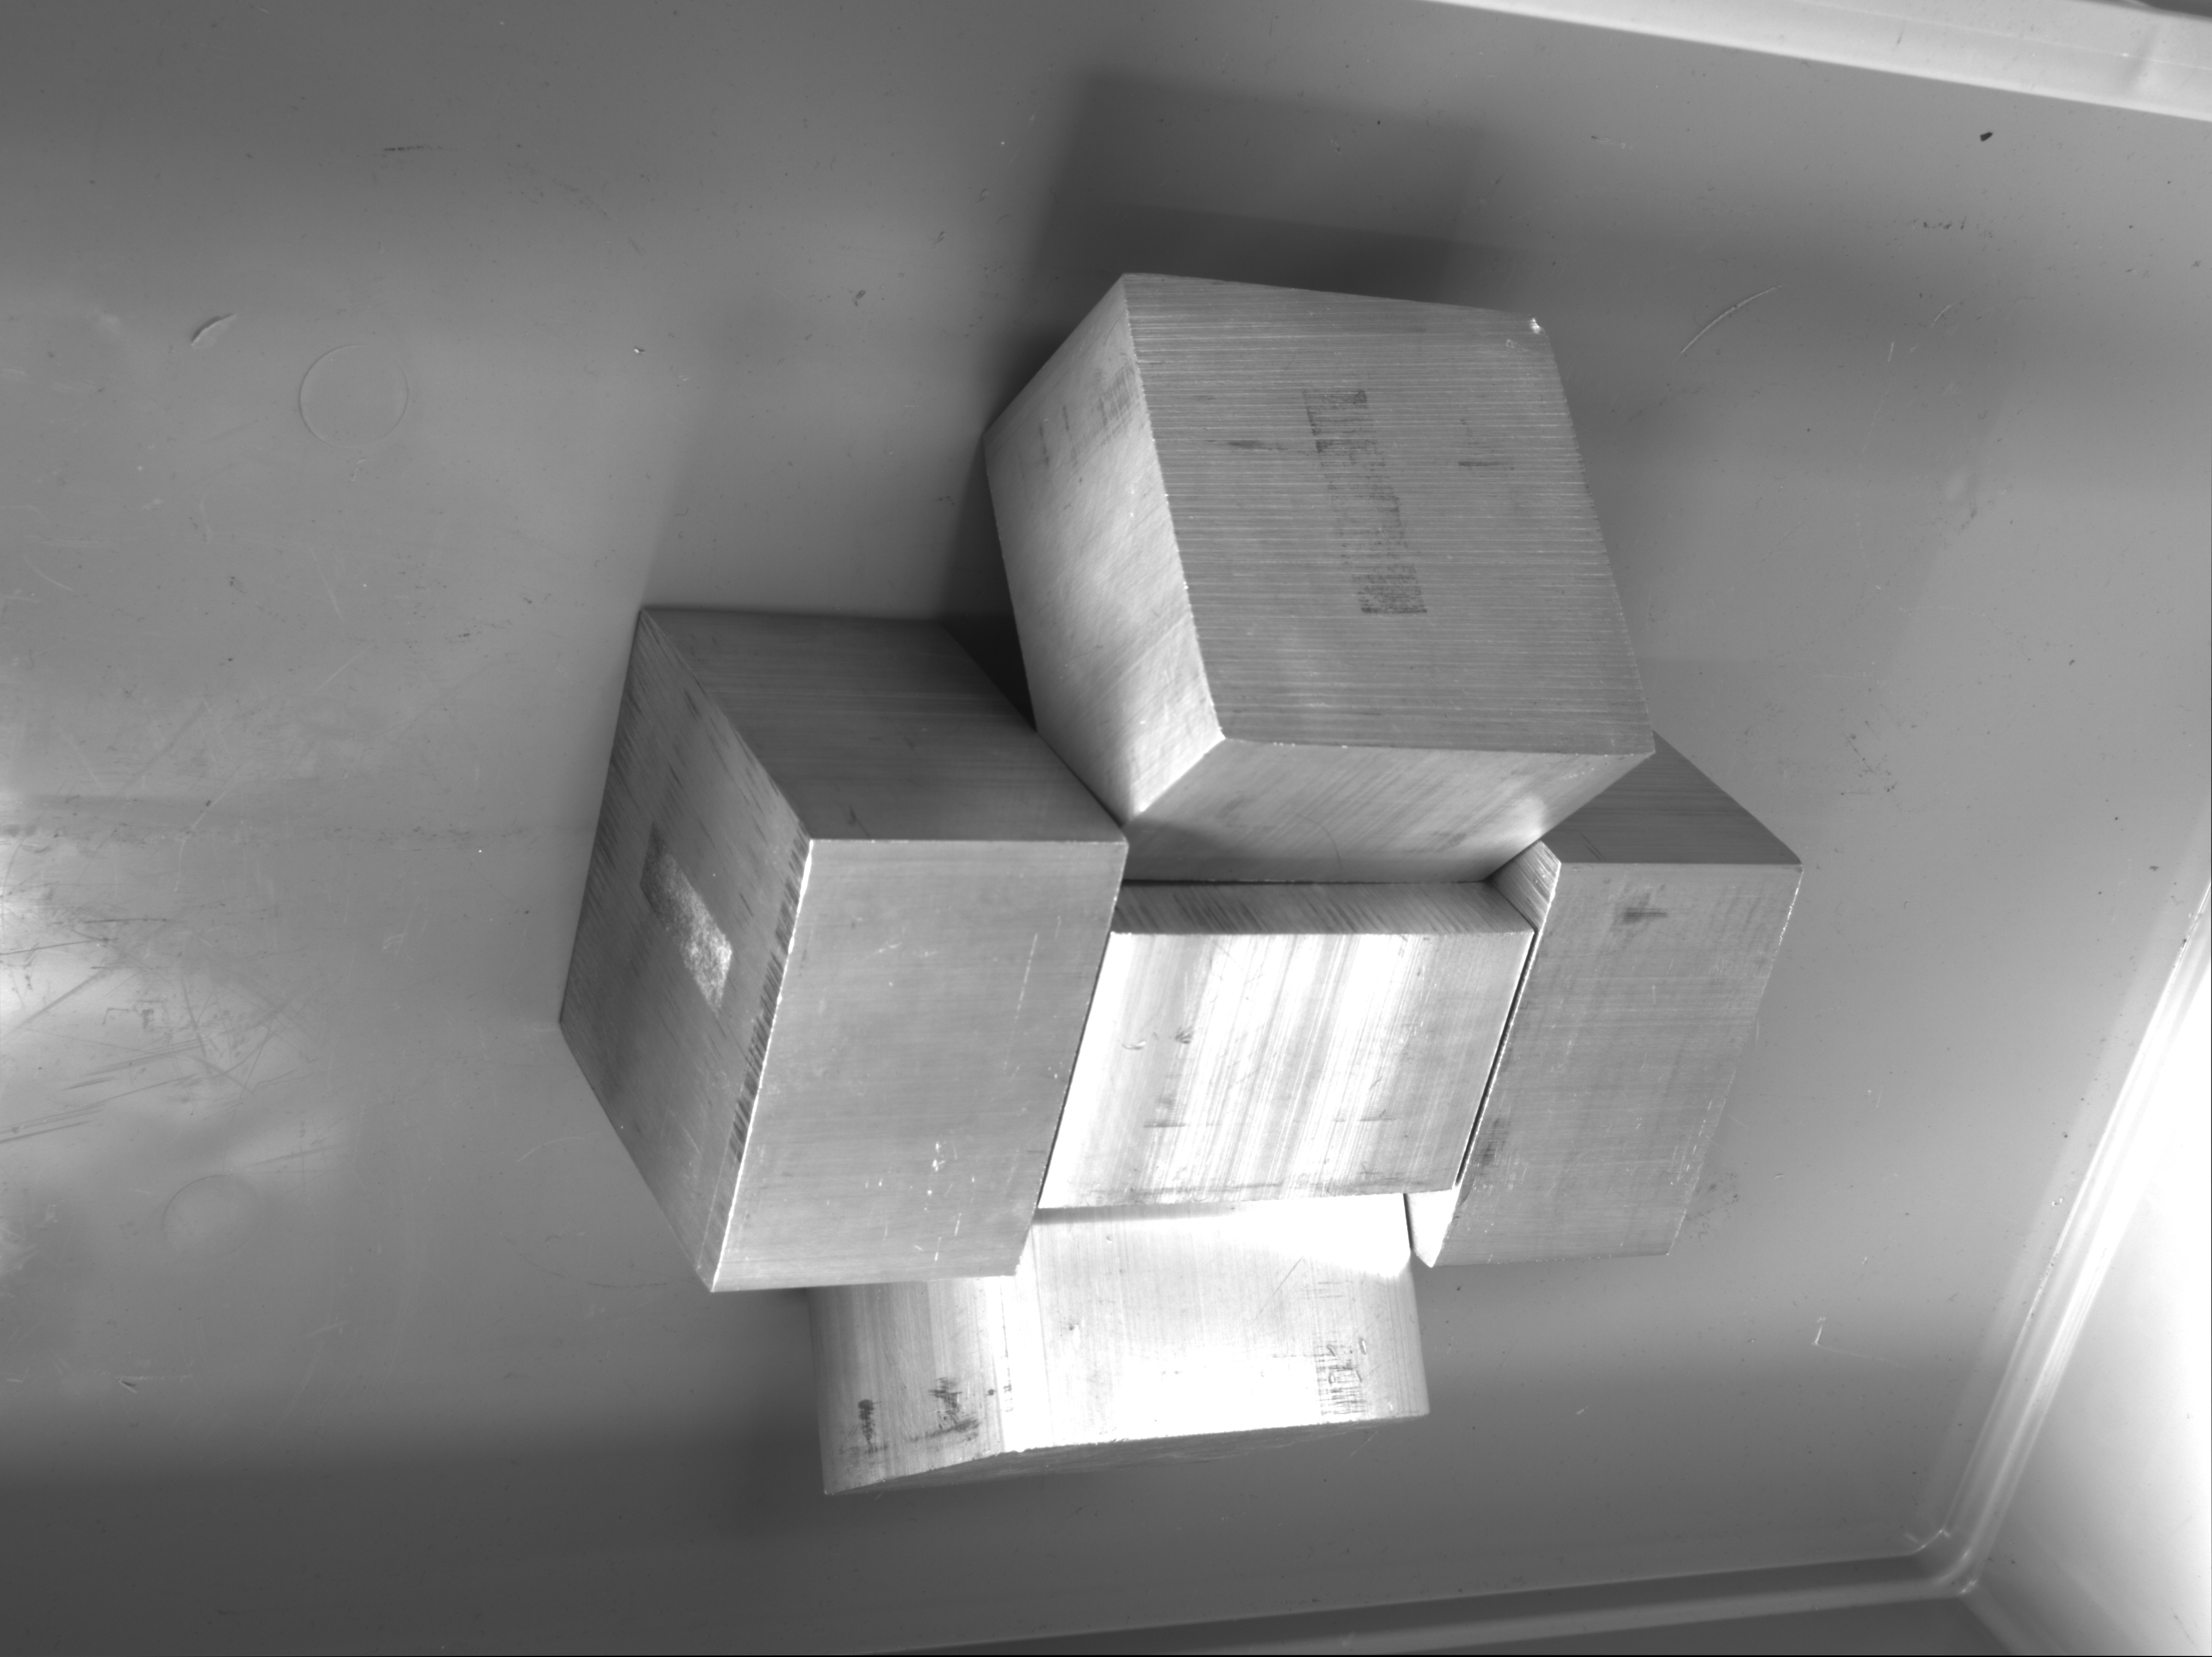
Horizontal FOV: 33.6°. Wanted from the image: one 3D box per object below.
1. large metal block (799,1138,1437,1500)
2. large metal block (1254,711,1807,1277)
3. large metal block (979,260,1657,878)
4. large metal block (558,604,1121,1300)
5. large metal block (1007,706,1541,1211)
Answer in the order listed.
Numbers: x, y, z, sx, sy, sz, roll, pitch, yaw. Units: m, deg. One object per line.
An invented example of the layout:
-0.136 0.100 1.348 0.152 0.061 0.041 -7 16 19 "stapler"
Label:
0.000 0.086 0.644 0.080 0.080 0.050 0 76 -30 "large metal block"
0.070 0.023 0.652 0.050 0.080 0.080 1 118 -28 "large metal block"
0.033 -0.039 0.587 0.080 0.080 0.050 2 155 -29 "large metal block"
-0.045 0.018 0.587 0.050 0.080 0.080 1 118 -28 "large metal block"
0.013 0.020 0.620 0.080 0.080 0.050 1 118 -28 "large metal block"
